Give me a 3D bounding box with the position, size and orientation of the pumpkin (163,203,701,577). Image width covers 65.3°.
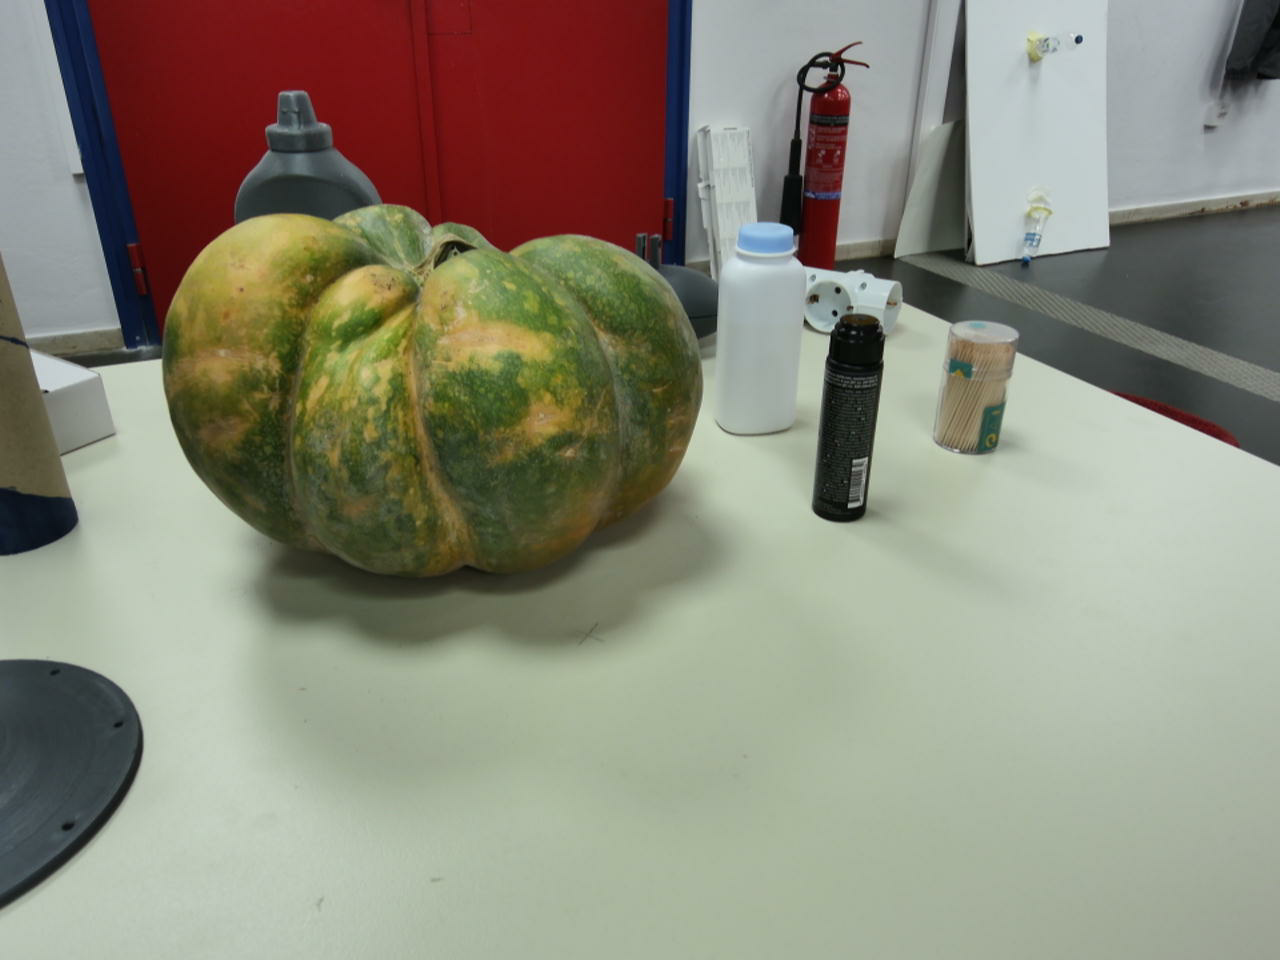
[{"bbox_3d":[-0.102,-0.055,0.507,0.270,0.173,0.237,5,26,11],"label":"pumpkin"}]
